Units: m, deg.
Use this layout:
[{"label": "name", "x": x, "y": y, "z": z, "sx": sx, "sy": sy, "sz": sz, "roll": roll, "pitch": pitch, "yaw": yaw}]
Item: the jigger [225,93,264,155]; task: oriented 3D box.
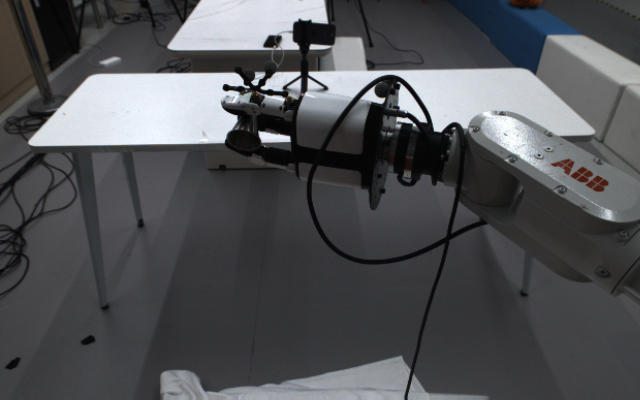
[{"label": "jigger", "x": -0.094, "y": -0.104, "z": 0.628, "sx": 0.043, "sy": 0.043, "sz": 0.071, "roll": 5, "pitch": 60, "yaw": 4}]
